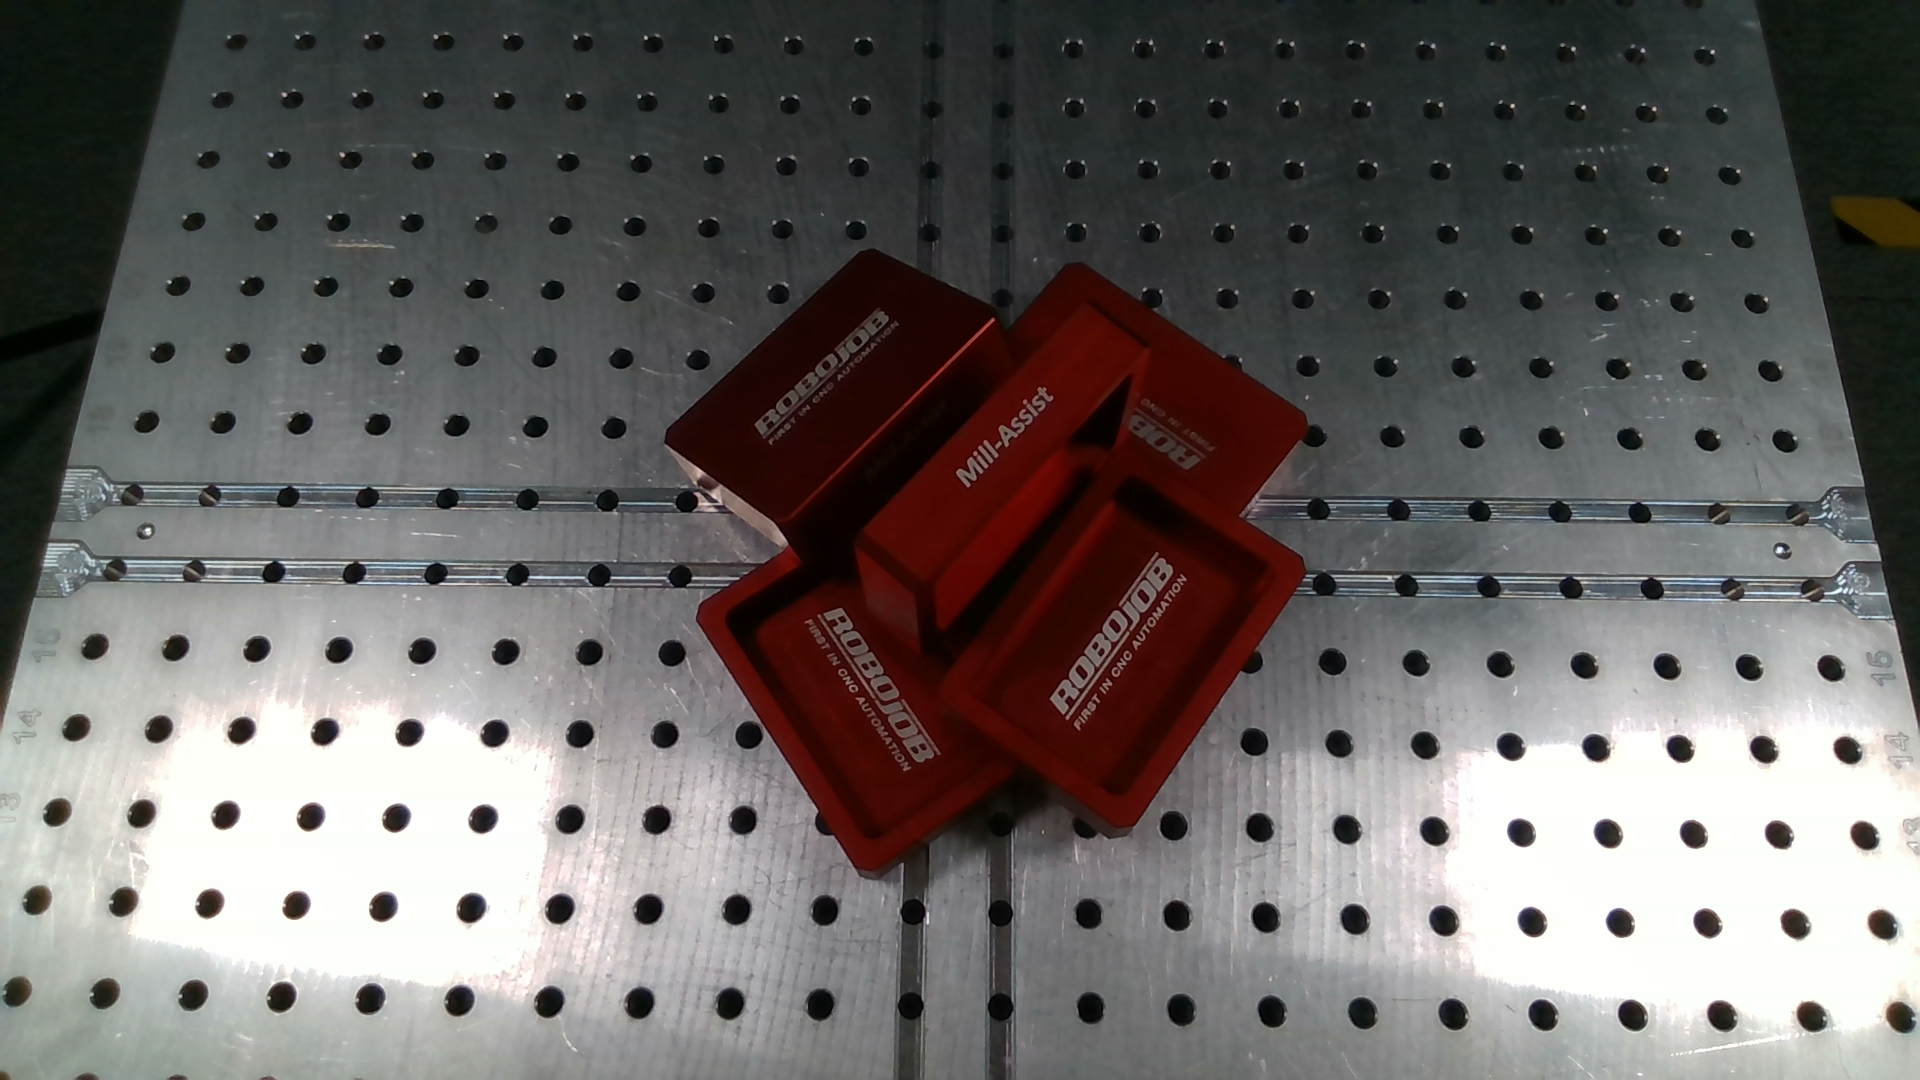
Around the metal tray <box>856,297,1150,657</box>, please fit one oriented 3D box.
[{"bbox_3d":[0.017,-0.022,0.531,0.030,0.090,0.130,39,75,13],"label":"metal tray"}]

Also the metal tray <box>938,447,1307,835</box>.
[{"bbox_3d":[0.063,0.039,0.542,0.090,0.030,0.130,35,74,11],"label":"metal tray"}]

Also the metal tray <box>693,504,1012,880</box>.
[{"bbox_3d":[-0.038,0.060,0.565,0.090,0.030,0.130,-32,73,-11],"label":"metal tray"}]

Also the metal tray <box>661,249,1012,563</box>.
[{"bbox_3d":[-0.053,-0.061,0.590,0.130,0.030,0.090,-46,51,-14],"label":"metal tray"}]

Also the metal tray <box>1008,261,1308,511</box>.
[{"bbox_3d":[0.073,-0.052,0.606,0.130,0.030,0.090,37,74,12],"label":"metal tray"}]
